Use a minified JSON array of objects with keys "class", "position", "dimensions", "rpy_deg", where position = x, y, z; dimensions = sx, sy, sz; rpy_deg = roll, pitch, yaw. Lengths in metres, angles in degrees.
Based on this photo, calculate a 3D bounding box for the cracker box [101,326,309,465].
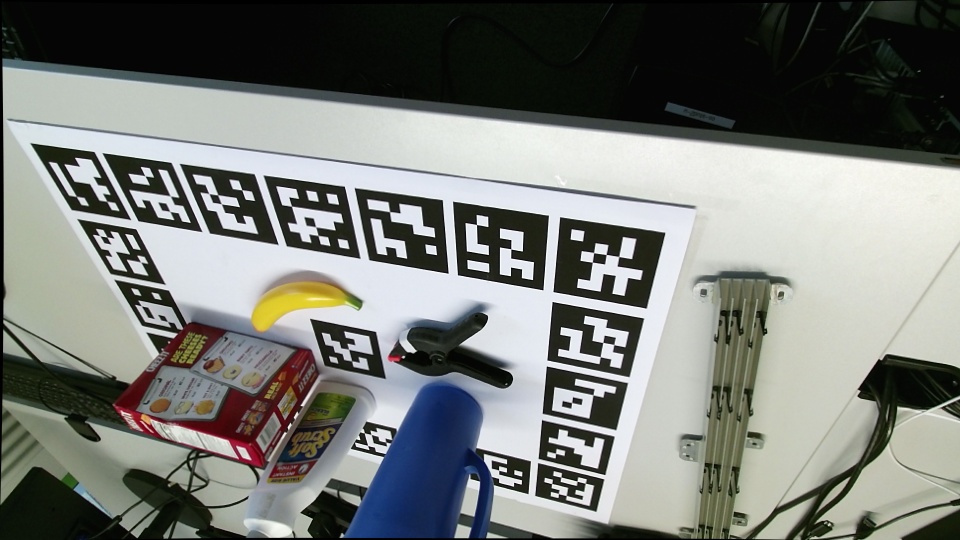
[{"class":"cracker box","position":[-0.390,0.183,0.785],"dimensions":[0.214,0.163,0.072],"rpy_deg":[11,134,9]}]

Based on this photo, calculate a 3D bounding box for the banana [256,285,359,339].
[{"class":"banana","position":[-0.259,0.058,0.746],"dimensions":[0.198,0.039,0.074],"rpy_deg":[-19,121,31]}]

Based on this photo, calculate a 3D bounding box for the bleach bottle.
[{"class":"bleach bottle","position":[-0.249,0.285,0.784],"dimensions":[0.103,0.250,0.068],"rpy_deg":[10,132,11]}]

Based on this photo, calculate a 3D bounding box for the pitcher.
[{"class":"pitcher","position":[-0.072,0.300,0.707],"dimensions":[0.189,0.242,0.133],"rpy_deg":[-3,128,25]}]

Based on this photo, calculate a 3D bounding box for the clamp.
[{"class":"clamp","position":[-0.048,0.121,0.714],"dimensions":[0.165,0.036,0.122],"rpy_deg":[-2,130,23]}]
